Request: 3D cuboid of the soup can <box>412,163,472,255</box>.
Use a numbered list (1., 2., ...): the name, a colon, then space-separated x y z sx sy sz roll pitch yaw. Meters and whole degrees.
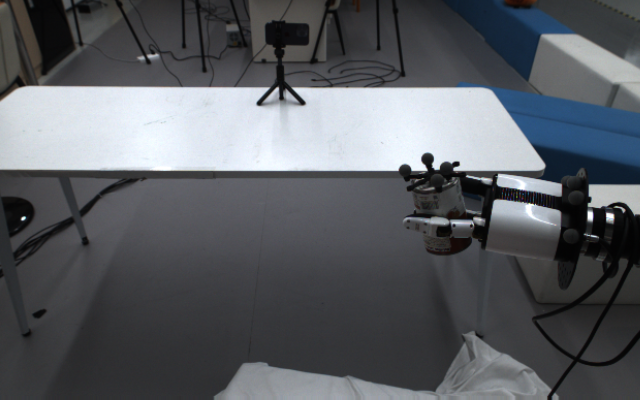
1. soup can: 0.171 0.017 0.674 0.067 0.101 0.067 -16 22 7
